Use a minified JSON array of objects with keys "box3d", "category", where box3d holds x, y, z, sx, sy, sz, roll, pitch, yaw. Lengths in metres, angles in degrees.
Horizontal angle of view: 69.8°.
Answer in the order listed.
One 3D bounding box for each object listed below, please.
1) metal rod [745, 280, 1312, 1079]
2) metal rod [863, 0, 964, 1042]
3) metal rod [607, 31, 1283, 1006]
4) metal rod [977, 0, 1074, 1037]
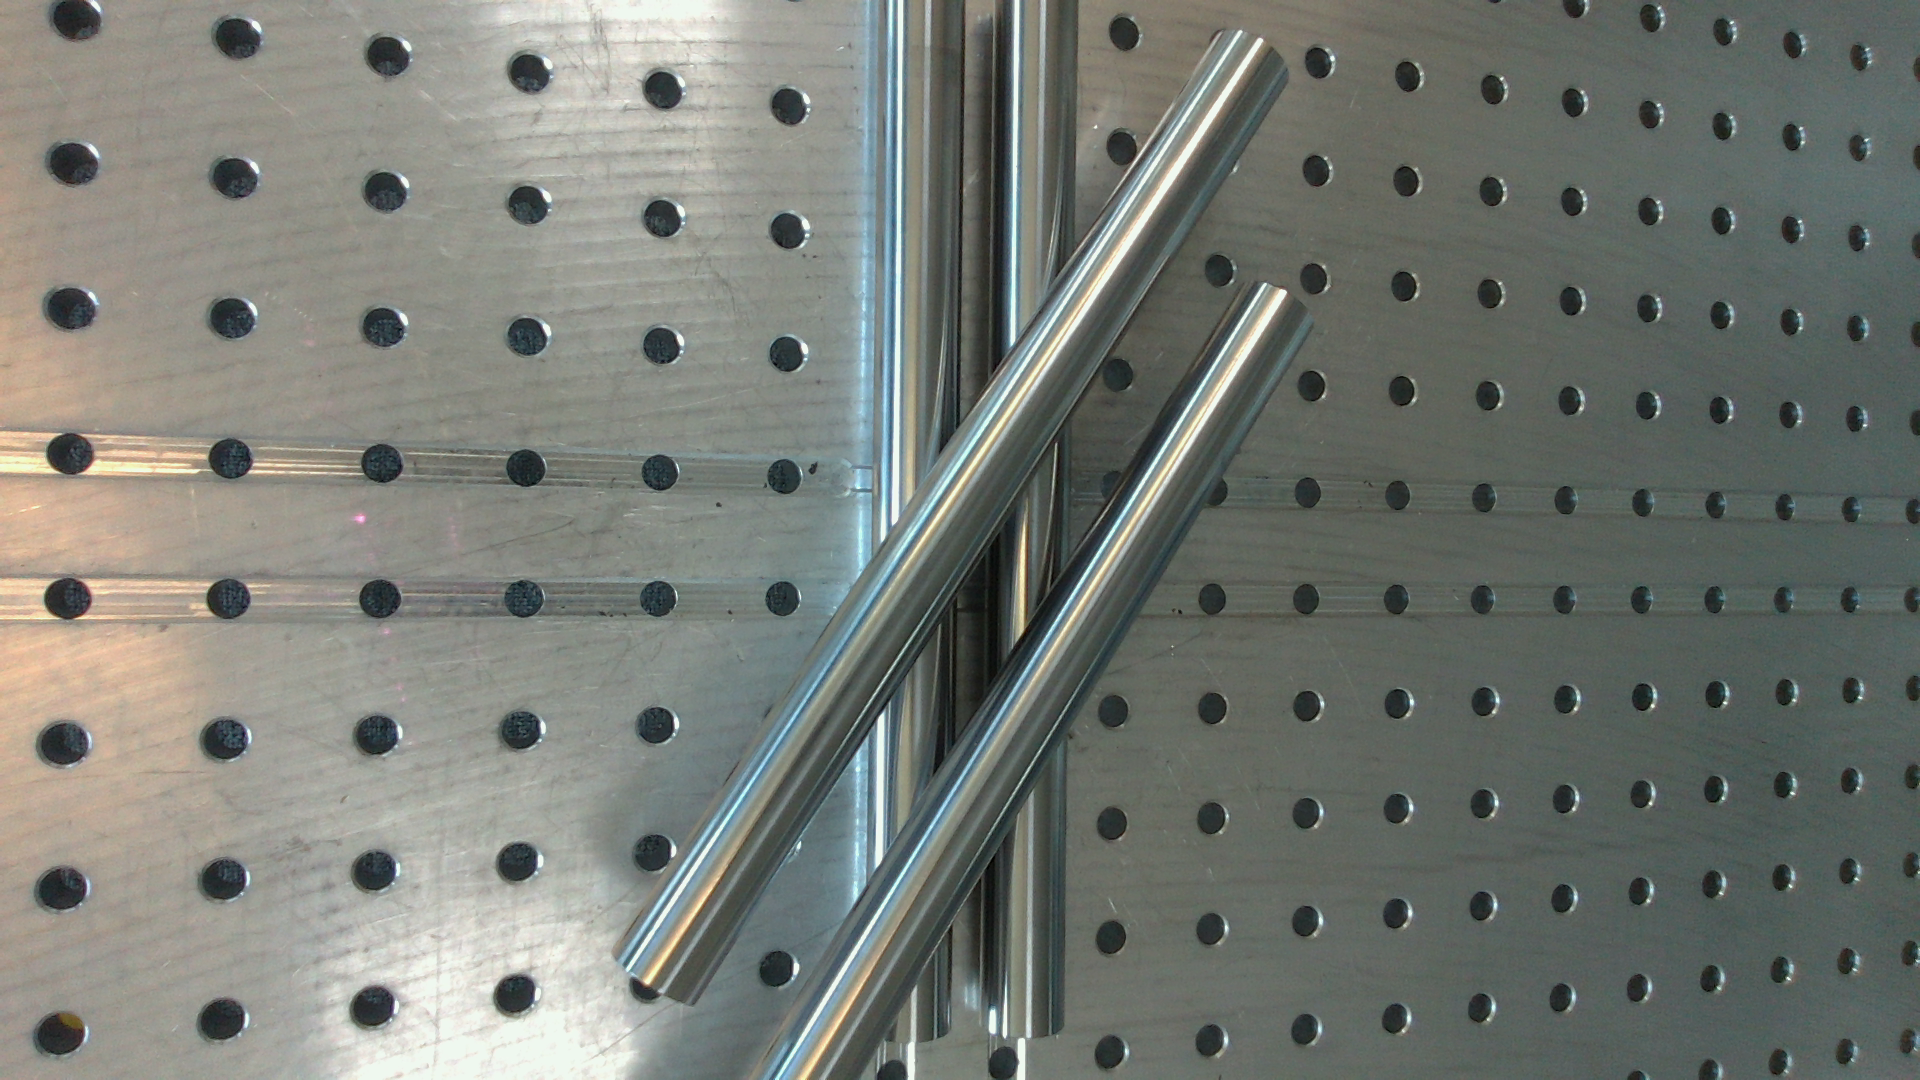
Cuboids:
[{"box3d":[0.012,0.056,0.374,0.025,0.025,0.300,36,78,-16],"category":"metal rod"},{"box3d":[-0.013,-0.012,0.391,0.025,0.025,0.300,1,90,-20],"category":"metal rod"},{"box3d":[0.003,-0.015,0.371,0.025,0.025,0.300,36,78,-16],"category":"metal rod"},{"box3d":[0.019,-0.009,0.403,0.025,0.025,0.300,1,90,-20],"category":"metal rod"}]
